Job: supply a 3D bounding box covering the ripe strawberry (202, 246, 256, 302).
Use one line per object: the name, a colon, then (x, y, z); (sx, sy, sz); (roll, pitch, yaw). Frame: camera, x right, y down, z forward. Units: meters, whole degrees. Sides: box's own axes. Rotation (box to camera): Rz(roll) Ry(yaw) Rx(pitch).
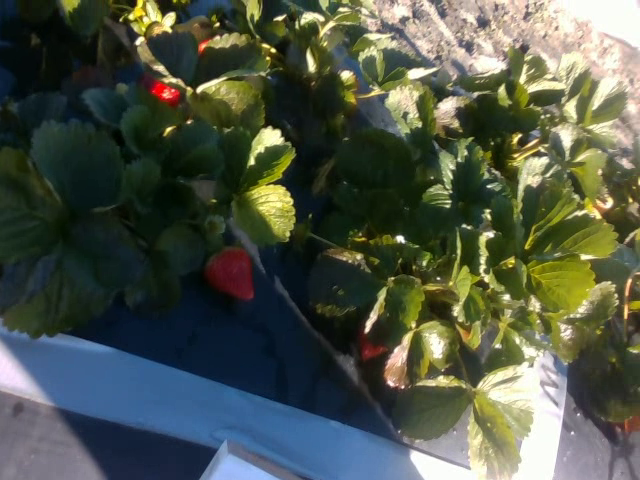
ripe strawberry: (-0.071, 0.028, 0.506); (0.045, 0.059, 0.042); (-30, -5, -4)
